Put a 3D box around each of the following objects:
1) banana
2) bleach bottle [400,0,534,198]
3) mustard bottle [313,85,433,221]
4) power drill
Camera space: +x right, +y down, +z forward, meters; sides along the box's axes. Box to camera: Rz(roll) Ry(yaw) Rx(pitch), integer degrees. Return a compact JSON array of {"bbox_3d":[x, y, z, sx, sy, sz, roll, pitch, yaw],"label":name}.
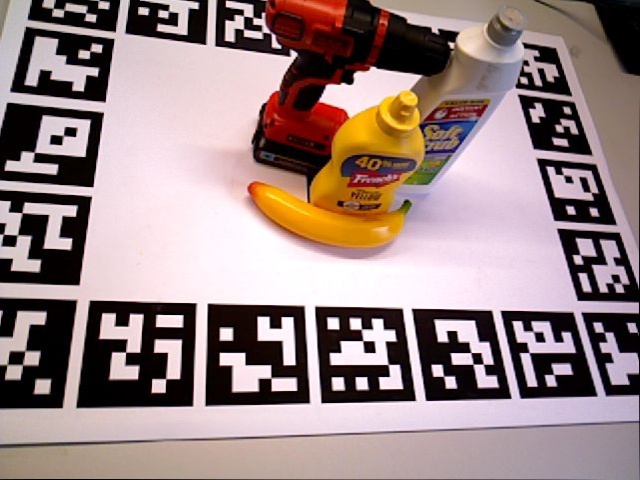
[{"bbox_3d":[0.021,-0.023,0.611,0.196,0.039,0.073,7,65,-10],"label":"banana"},{"bbox_3d":[0.132,-0.144,0.572,0.101,0.257,0.067,6,57,-13],"label":"bleach bottle"},{"bbox_3d":[0.061,-0.086,0.553,0.095,0.196,0.058,4,63,-15],"label":"mustard bottle"},{"bbox_3d":[0.024,-0.162,0.555,0.183,0.191,0.056,16,60,-10],"label":"power drill"}]
